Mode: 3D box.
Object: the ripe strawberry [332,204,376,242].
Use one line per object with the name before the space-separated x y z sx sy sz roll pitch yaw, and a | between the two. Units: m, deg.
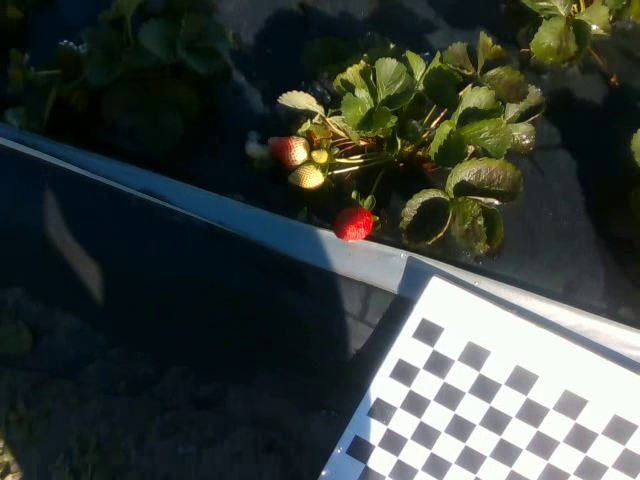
ripe strawberry | 0.024 -0.011 0.517 0.036 0.038 0.045 26 23 17
